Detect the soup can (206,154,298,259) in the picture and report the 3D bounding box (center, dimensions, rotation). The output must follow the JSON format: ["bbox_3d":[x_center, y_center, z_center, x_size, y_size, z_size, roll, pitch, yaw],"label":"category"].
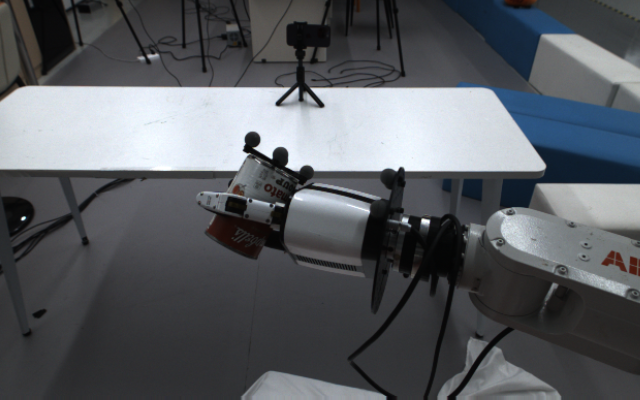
[{"bbox_3d":[-0.076,0.008,0.549,0.067,0.101,0.067,28,-3,1],"label":"soup can"}]
